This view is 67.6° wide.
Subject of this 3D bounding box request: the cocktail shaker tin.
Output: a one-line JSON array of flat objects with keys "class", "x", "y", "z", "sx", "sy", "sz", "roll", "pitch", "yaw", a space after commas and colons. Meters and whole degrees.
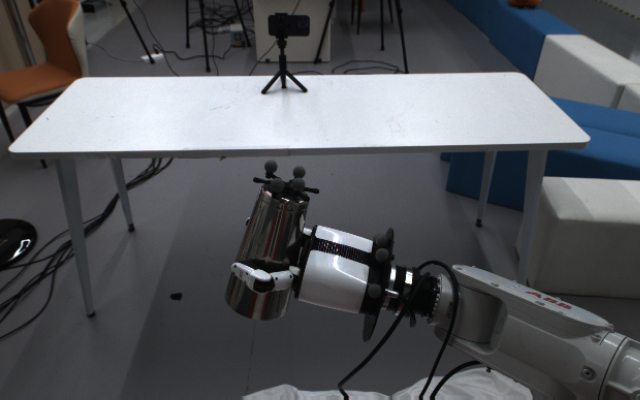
[{"class": "cocktail shaker tin", "x": -0.066, "y": 0.066, "z": 0.659, "sx": 0.093, "sy": 0.170, "sz": 0.093, "roll": 15, "pitch": 20, "yaw": -5}]
